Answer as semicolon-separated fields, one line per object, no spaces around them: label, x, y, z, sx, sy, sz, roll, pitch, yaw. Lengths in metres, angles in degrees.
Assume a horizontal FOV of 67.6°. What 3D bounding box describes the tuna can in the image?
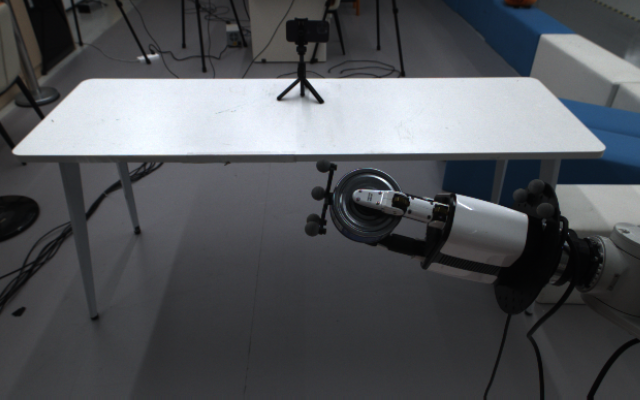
tuna can;0.059;0.009;0.569;0.085;0.034;0.085;2;73;-5
